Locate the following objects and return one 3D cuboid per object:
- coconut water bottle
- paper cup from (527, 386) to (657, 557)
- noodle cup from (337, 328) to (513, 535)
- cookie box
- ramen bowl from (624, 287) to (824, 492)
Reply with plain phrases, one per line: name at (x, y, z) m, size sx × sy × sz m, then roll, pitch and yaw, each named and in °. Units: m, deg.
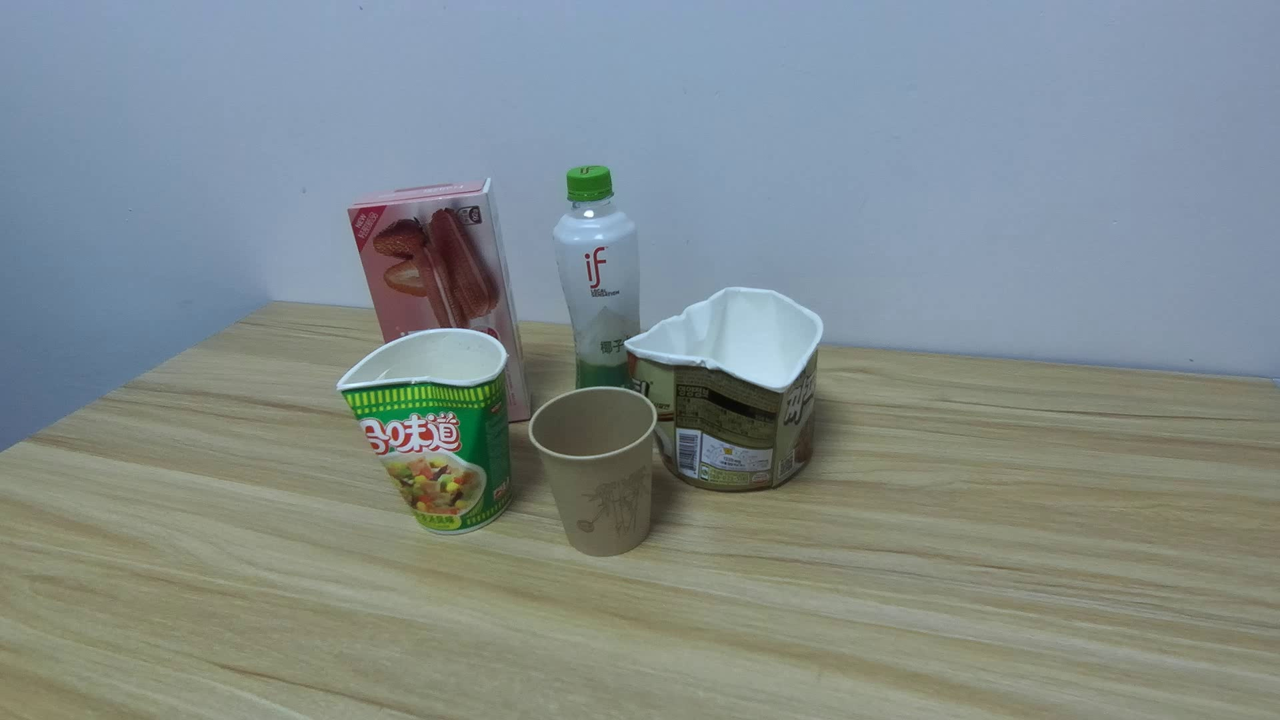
coconut water bottle at (-0.027, -0.046, 0.528) m, size 0.063 × 0.189 × 0.063 m, roll -4°, pitch 25°, yaw 2°
paper cup at (-0.023, 0.070, 0.429) m, size 0.075 × 0.082 × 0.075 m, roll -4°, pitch 30°, yaw 2°
noodle cup at (-0.122, 0.048, 0.461) m, size 0.093 × 0.109 × 0.087 m, roll 10°, pitch 33°, yaw 25°
cookie box at (-0.145, -0.036, 0.538) m, size 0.096 × 0.185 × 0.048 m, roll -8°, pitch 26°, yaw -3°
ramen bowl at (0.069, 0.014, 0.494) m, size 0.113 × 0.098 × 0.134 m, roll 10°, pitch 34°, yaw 28°
